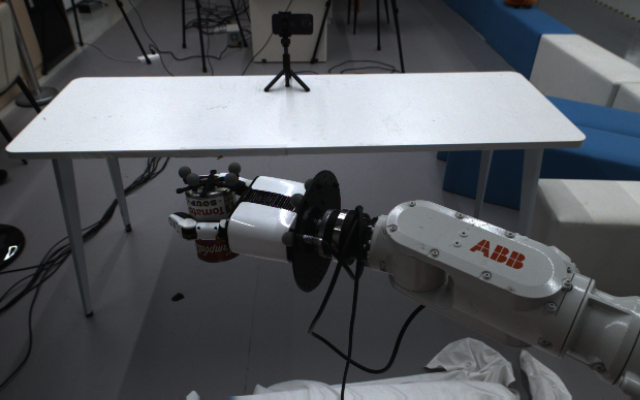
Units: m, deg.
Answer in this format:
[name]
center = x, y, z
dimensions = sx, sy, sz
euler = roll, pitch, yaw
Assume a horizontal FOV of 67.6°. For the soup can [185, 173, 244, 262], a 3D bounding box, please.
[soup can]
center = -0.145, 0.027, 0.675
dimensions = 0.067, 0.101, 0.067
euler = -4, 26, 2
